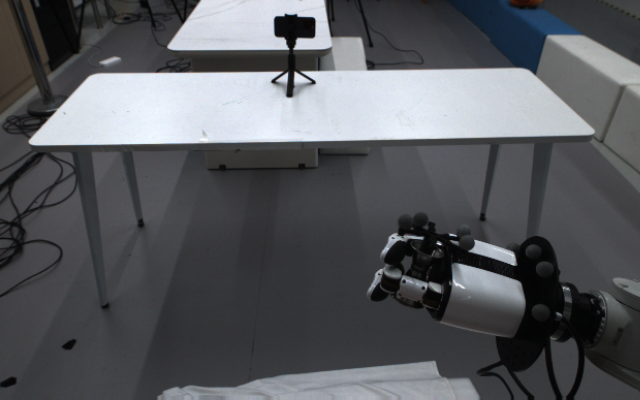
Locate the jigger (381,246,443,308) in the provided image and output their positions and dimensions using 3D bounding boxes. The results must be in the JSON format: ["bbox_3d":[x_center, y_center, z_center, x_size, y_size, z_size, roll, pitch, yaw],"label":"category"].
[{"bbox_3d":[0.117,0.086,0.573,0.043,0.071,0.043,15,17,-5],"label":"jigger"}]
